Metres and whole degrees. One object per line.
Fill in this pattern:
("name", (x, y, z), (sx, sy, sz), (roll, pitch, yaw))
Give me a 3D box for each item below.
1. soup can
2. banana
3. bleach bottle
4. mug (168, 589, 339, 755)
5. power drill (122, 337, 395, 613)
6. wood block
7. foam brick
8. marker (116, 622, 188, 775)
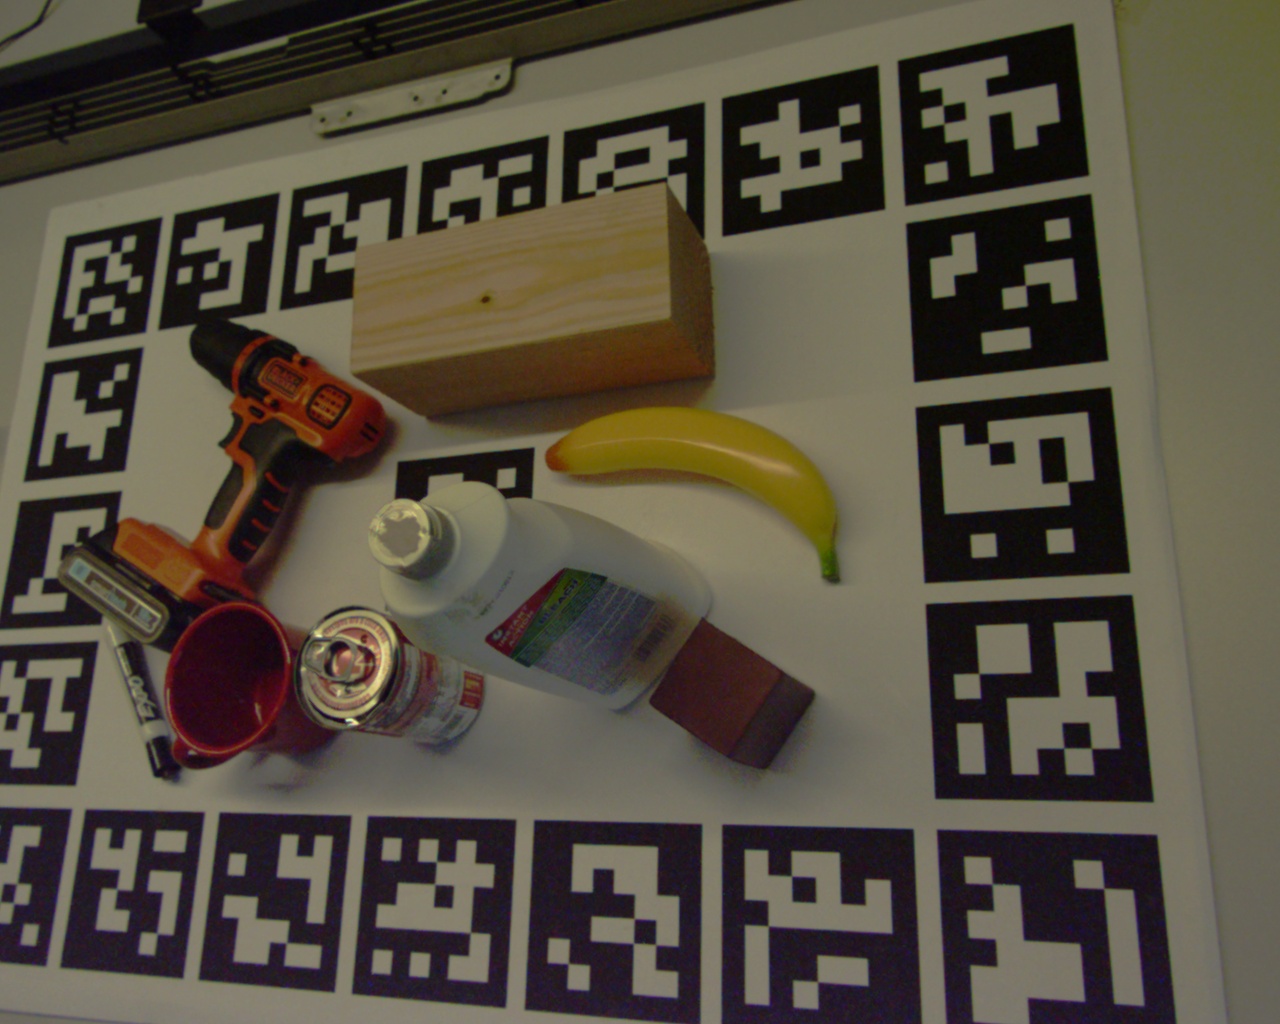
("soup can", (-0.152, 0.094, 0.691), (0.068, 0.101, 0.068), (-7, 68, 17))
("banana", (0.013, -0.037, 0.705), (0.199, 0.038, 0.074), (12, 93, 22))
("bleach bottle", (-0.056, 0.037, 0.596), (0.069, 0.248, 0.102), (27, 84, 26))
("mug", (-0.250, 0.111, 0.741), (0.094, 0.080, 0.117), (42, 95, 24))
("power drill", (-0.285, -0.021, 0.816), (0.186, 0.057, 0.187), (27, 84, 23))
("wood block", (-0.068, -0.122, 0.738), (0.208, 0.090, 0.090), (-6, 73, 20))
("foam brick", (0.046, 0.100, 0.633), (0.053, 0.077, 0.051), (32, 85, 28))
("marker", (-0.347, 0.131, 0.812), (0.020, 0.019, 0.122), (-35, 66, 11))
